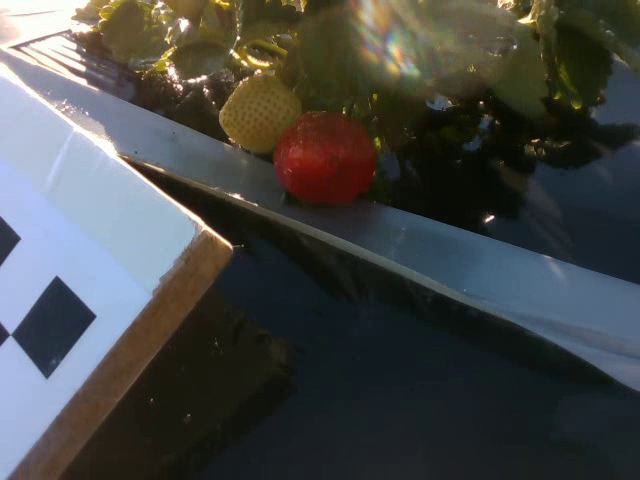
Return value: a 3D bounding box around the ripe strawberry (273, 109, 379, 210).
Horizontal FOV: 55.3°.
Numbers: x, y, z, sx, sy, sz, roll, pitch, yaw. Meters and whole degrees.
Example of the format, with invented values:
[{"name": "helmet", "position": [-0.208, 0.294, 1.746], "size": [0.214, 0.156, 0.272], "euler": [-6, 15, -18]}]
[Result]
[{"name": "ripe strawberry", "position": [-0.001, -0.034, 0.241], "size": [0.045, 0.049, 0.063], "euler": [-33, -1, 10]}]
